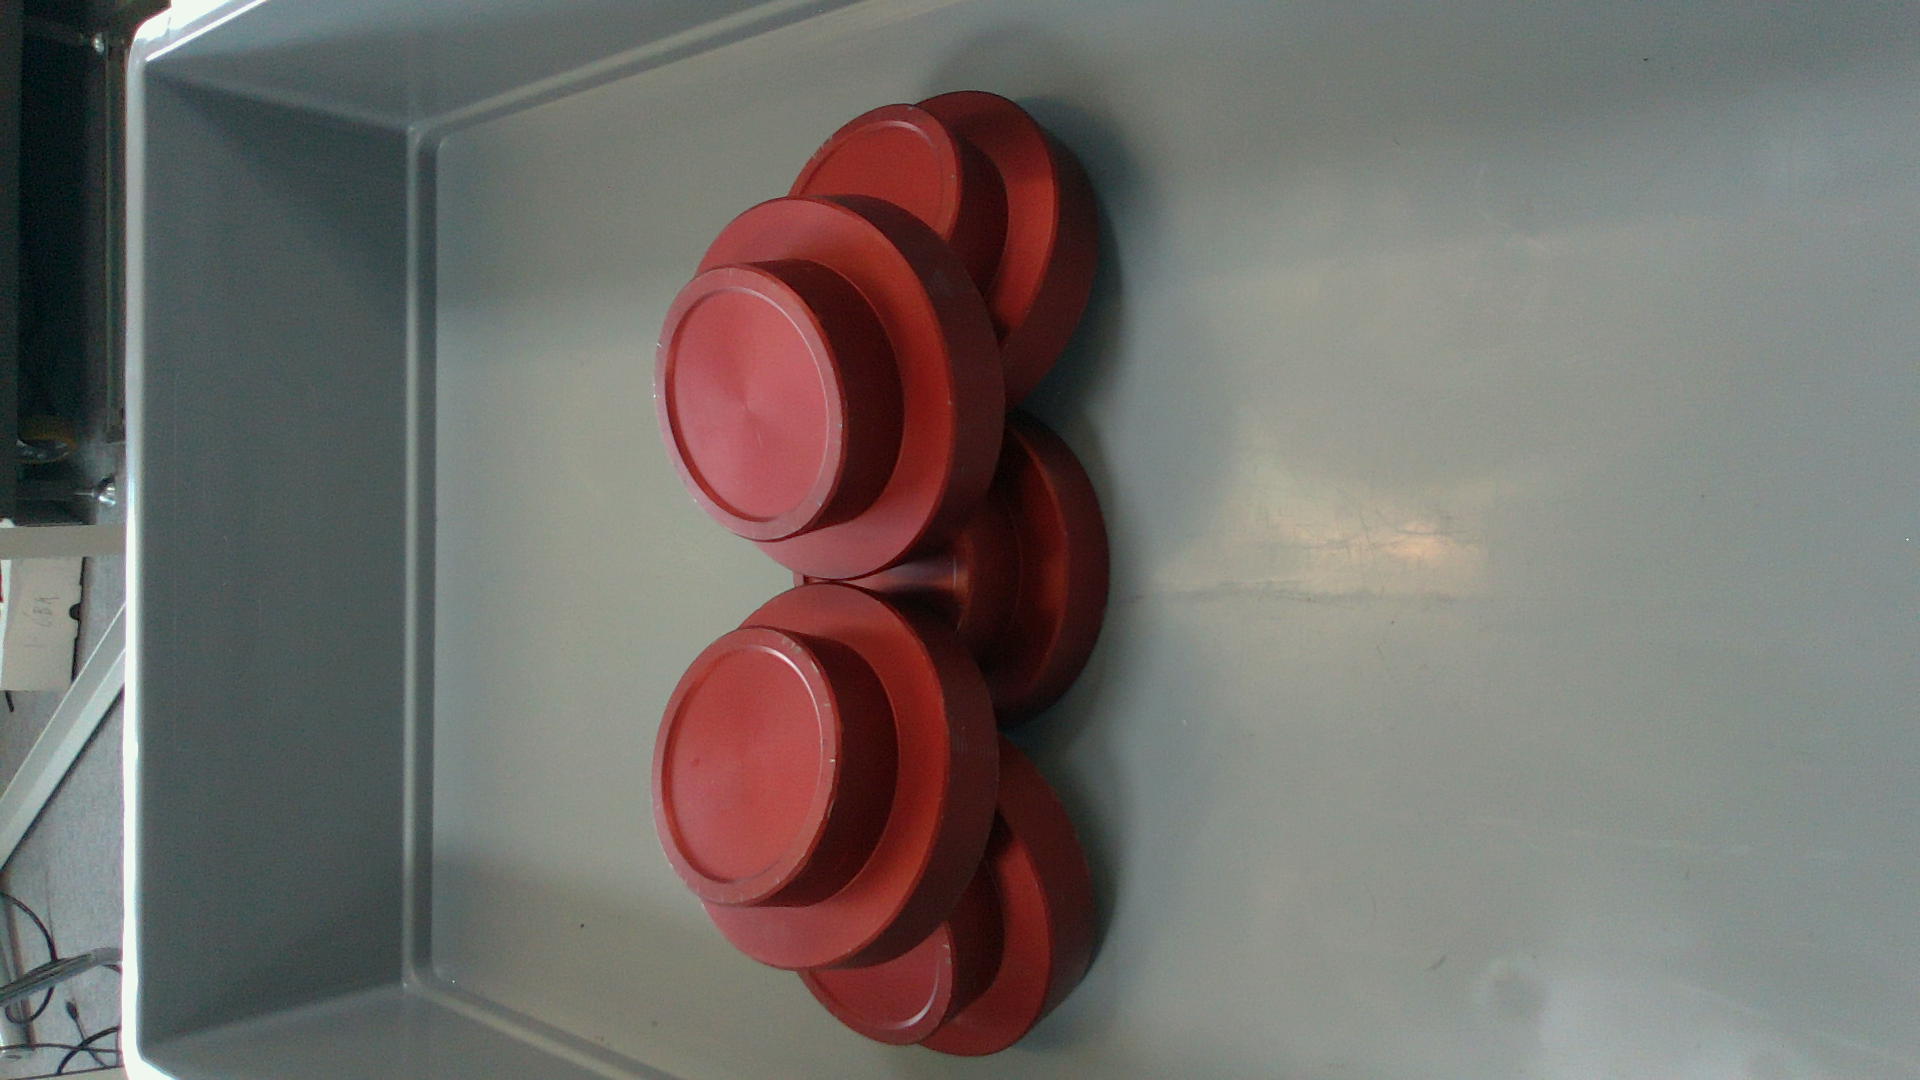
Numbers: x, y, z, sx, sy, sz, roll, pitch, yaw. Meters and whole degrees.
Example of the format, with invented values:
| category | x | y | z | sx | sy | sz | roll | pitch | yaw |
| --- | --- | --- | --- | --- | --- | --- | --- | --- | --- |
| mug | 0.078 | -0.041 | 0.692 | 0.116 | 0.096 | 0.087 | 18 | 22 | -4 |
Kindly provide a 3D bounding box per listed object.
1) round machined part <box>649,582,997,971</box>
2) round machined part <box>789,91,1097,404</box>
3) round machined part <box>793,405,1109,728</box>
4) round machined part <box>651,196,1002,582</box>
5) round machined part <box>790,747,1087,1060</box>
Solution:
| category | x | y | z | sx | sy | sz | roll | pitch | yaw |
| --- | --- | --- | --- | --- | --- | --- | --- | --- | --- |
| round machined part | -0.041 | 0.059 | 0.350 | 0.098 | 0.042 | 0.098 | -11 | 72 | 38 |
| round machined part | -0.014 | -0.080 | 0.380 | 0.098 | 0.042 | 0.098 | -15 | 65 | 35 |
| round machined part | -0.010 | 0.007 | 0.391 | 0.098 | 0.042 | 0.098 | -1 | 88 | 40 |
| round machined part | -0.040 | -0.037 | 0.349 | 0.098 | 0.042 | 0.098 | 13 | 110 | 37 |
| round machined part | -0.017 | 0.099 | 0.379 | 0.098 | 0.042 | 0.098 | 15 | 114 | 36 |
